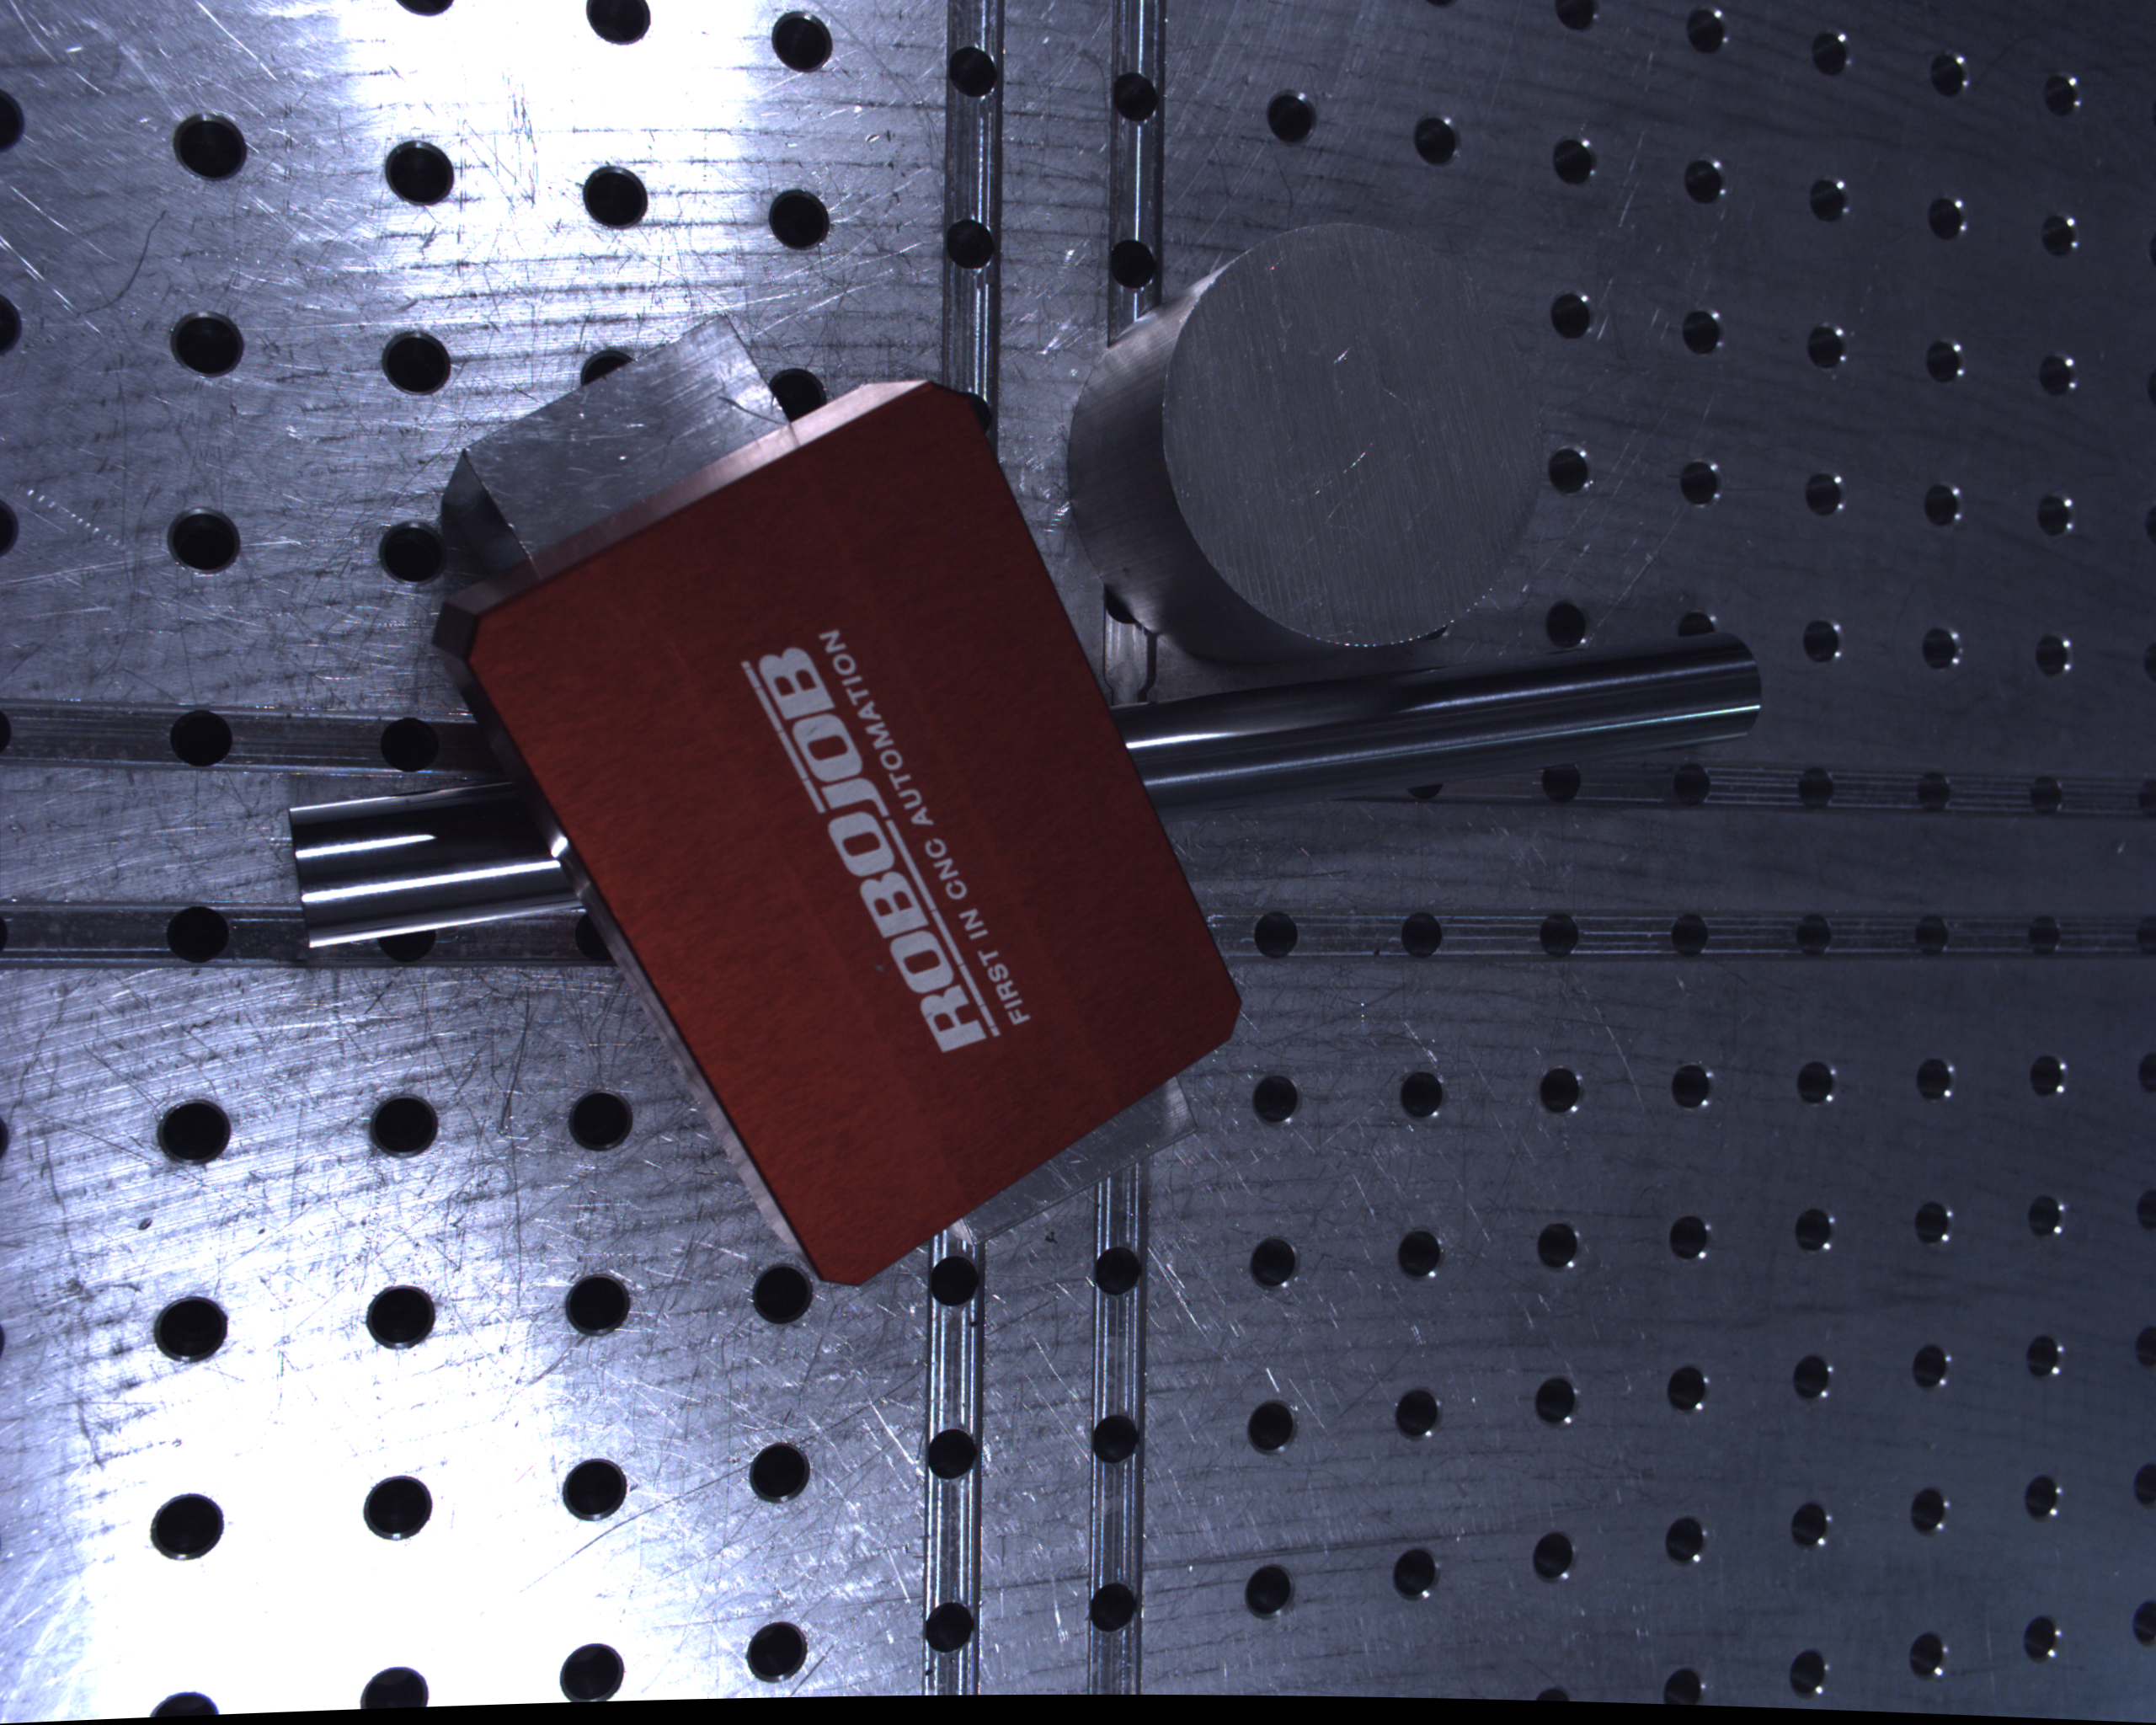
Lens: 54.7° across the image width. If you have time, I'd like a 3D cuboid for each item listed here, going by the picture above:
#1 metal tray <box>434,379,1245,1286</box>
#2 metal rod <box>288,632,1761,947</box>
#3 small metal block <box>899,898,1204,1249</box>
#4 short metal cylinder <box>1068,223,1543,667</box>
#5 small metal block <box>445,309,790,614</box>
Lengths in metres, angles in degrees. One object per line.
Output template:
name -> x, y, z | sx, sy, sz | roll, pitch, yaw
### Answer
metal tray -> -0.037, -0.005, 0.356 | 0.091, 0.030, 0.129 | -32, 112, -17
metal rod -> 0.005, -0.019, 0.415 | 0.303, 0.025, 0.025 | -8, 93, -20
small metal block -> -0.011, 0.040, 0.408 | 0.050, 0.025, 0.050 | -25, 99, -19
short metal cylinder -> 0.044, -0.081, 0.416 | 0.081, 0.050, 0.079 | 0, 90, -21
small metal block -> -0.082, -0.070, 0.369 | 0.050, 0.050, 0.025 | -33, 101, -17
